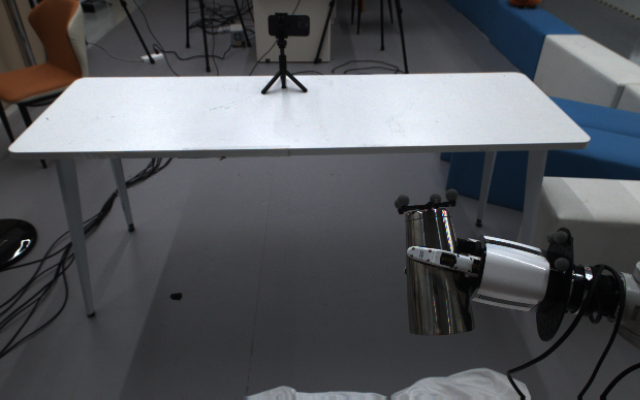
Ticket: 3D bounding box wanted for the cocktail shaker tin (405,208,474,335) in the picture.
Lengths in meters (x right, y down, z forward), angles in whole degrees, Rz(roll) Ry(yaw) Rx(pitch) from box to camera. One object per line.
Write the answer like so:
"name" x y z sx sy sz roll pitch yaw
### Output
"cocktail shaker tin" 0.166 0.101 0.701 0.093 0.170 0.093 -6 -7 -1
